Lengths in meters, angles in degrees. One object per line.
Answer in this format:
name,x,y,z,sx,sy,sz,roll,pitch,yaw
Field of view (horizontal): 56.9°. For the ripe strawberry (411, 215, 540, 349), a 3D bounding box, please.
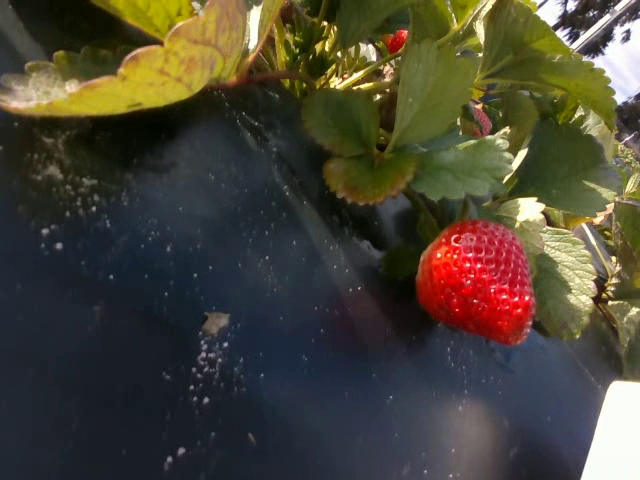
ripe strawberry,0.049,0.014,0.170,0.041,0.041,0.047,2,30,-23
